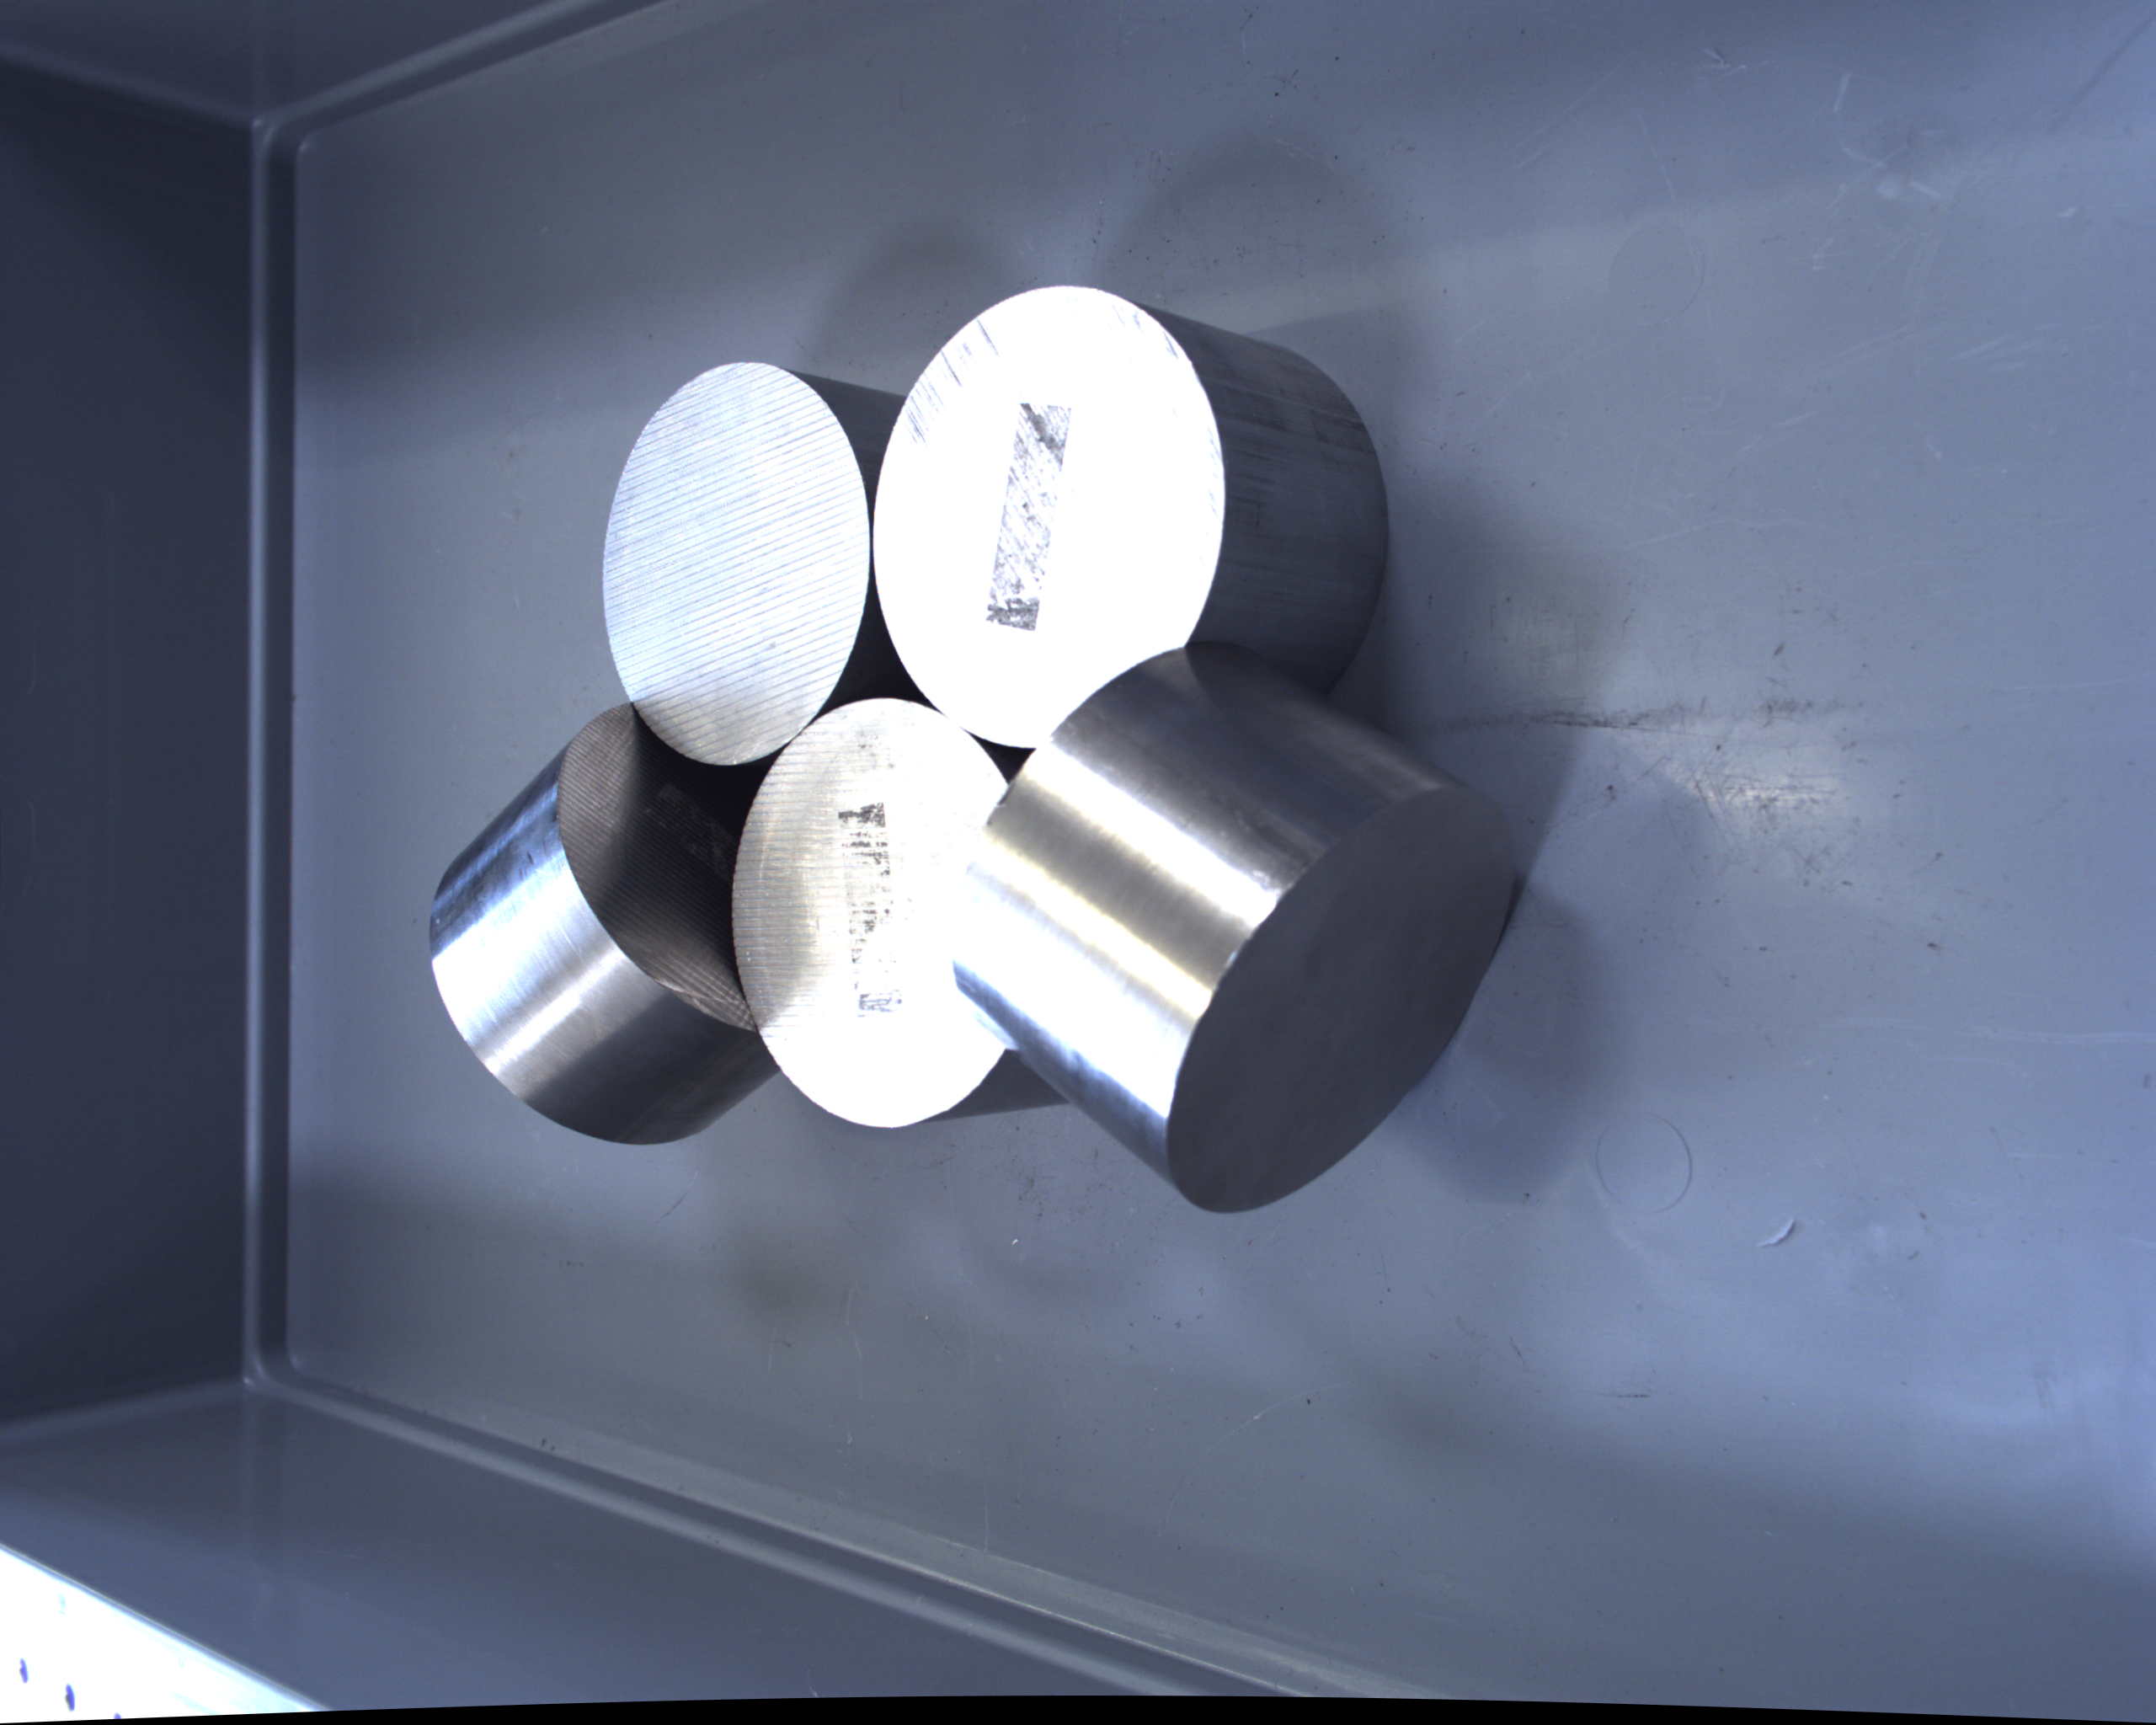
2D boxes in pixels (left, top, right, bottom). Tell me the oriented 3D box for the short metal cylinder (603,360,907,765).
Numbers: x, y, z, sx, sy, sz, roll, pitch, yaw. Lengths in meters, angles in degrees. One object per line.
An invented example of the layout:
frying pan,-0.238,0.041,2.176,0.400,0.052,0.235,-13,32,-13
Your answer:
short metal cylinder,-0.053,-0.059,0.432,0.080,0.050,0.080,0,90,40

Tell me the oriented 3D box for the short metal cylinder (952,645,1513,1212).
short metal cylinder,0.026,0.011,0.347,0.050,0.081,0.079,37,113,34

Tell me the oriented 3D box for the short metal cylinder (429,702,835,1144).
short metal cylinder,-0.088,0.013,0.442,0.050,0.081,0.080,-37,67,34

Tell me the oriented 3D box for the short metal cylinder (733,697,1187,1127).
short metal cylinder,-0.021,0.009,0.406,0.080,0.050,0.080,0,90,40

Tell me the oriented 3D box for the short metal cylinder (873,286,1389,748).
short metal cylinder,0.009,-0.060,0.381,0.080,0.050,0.080,0,90,40
